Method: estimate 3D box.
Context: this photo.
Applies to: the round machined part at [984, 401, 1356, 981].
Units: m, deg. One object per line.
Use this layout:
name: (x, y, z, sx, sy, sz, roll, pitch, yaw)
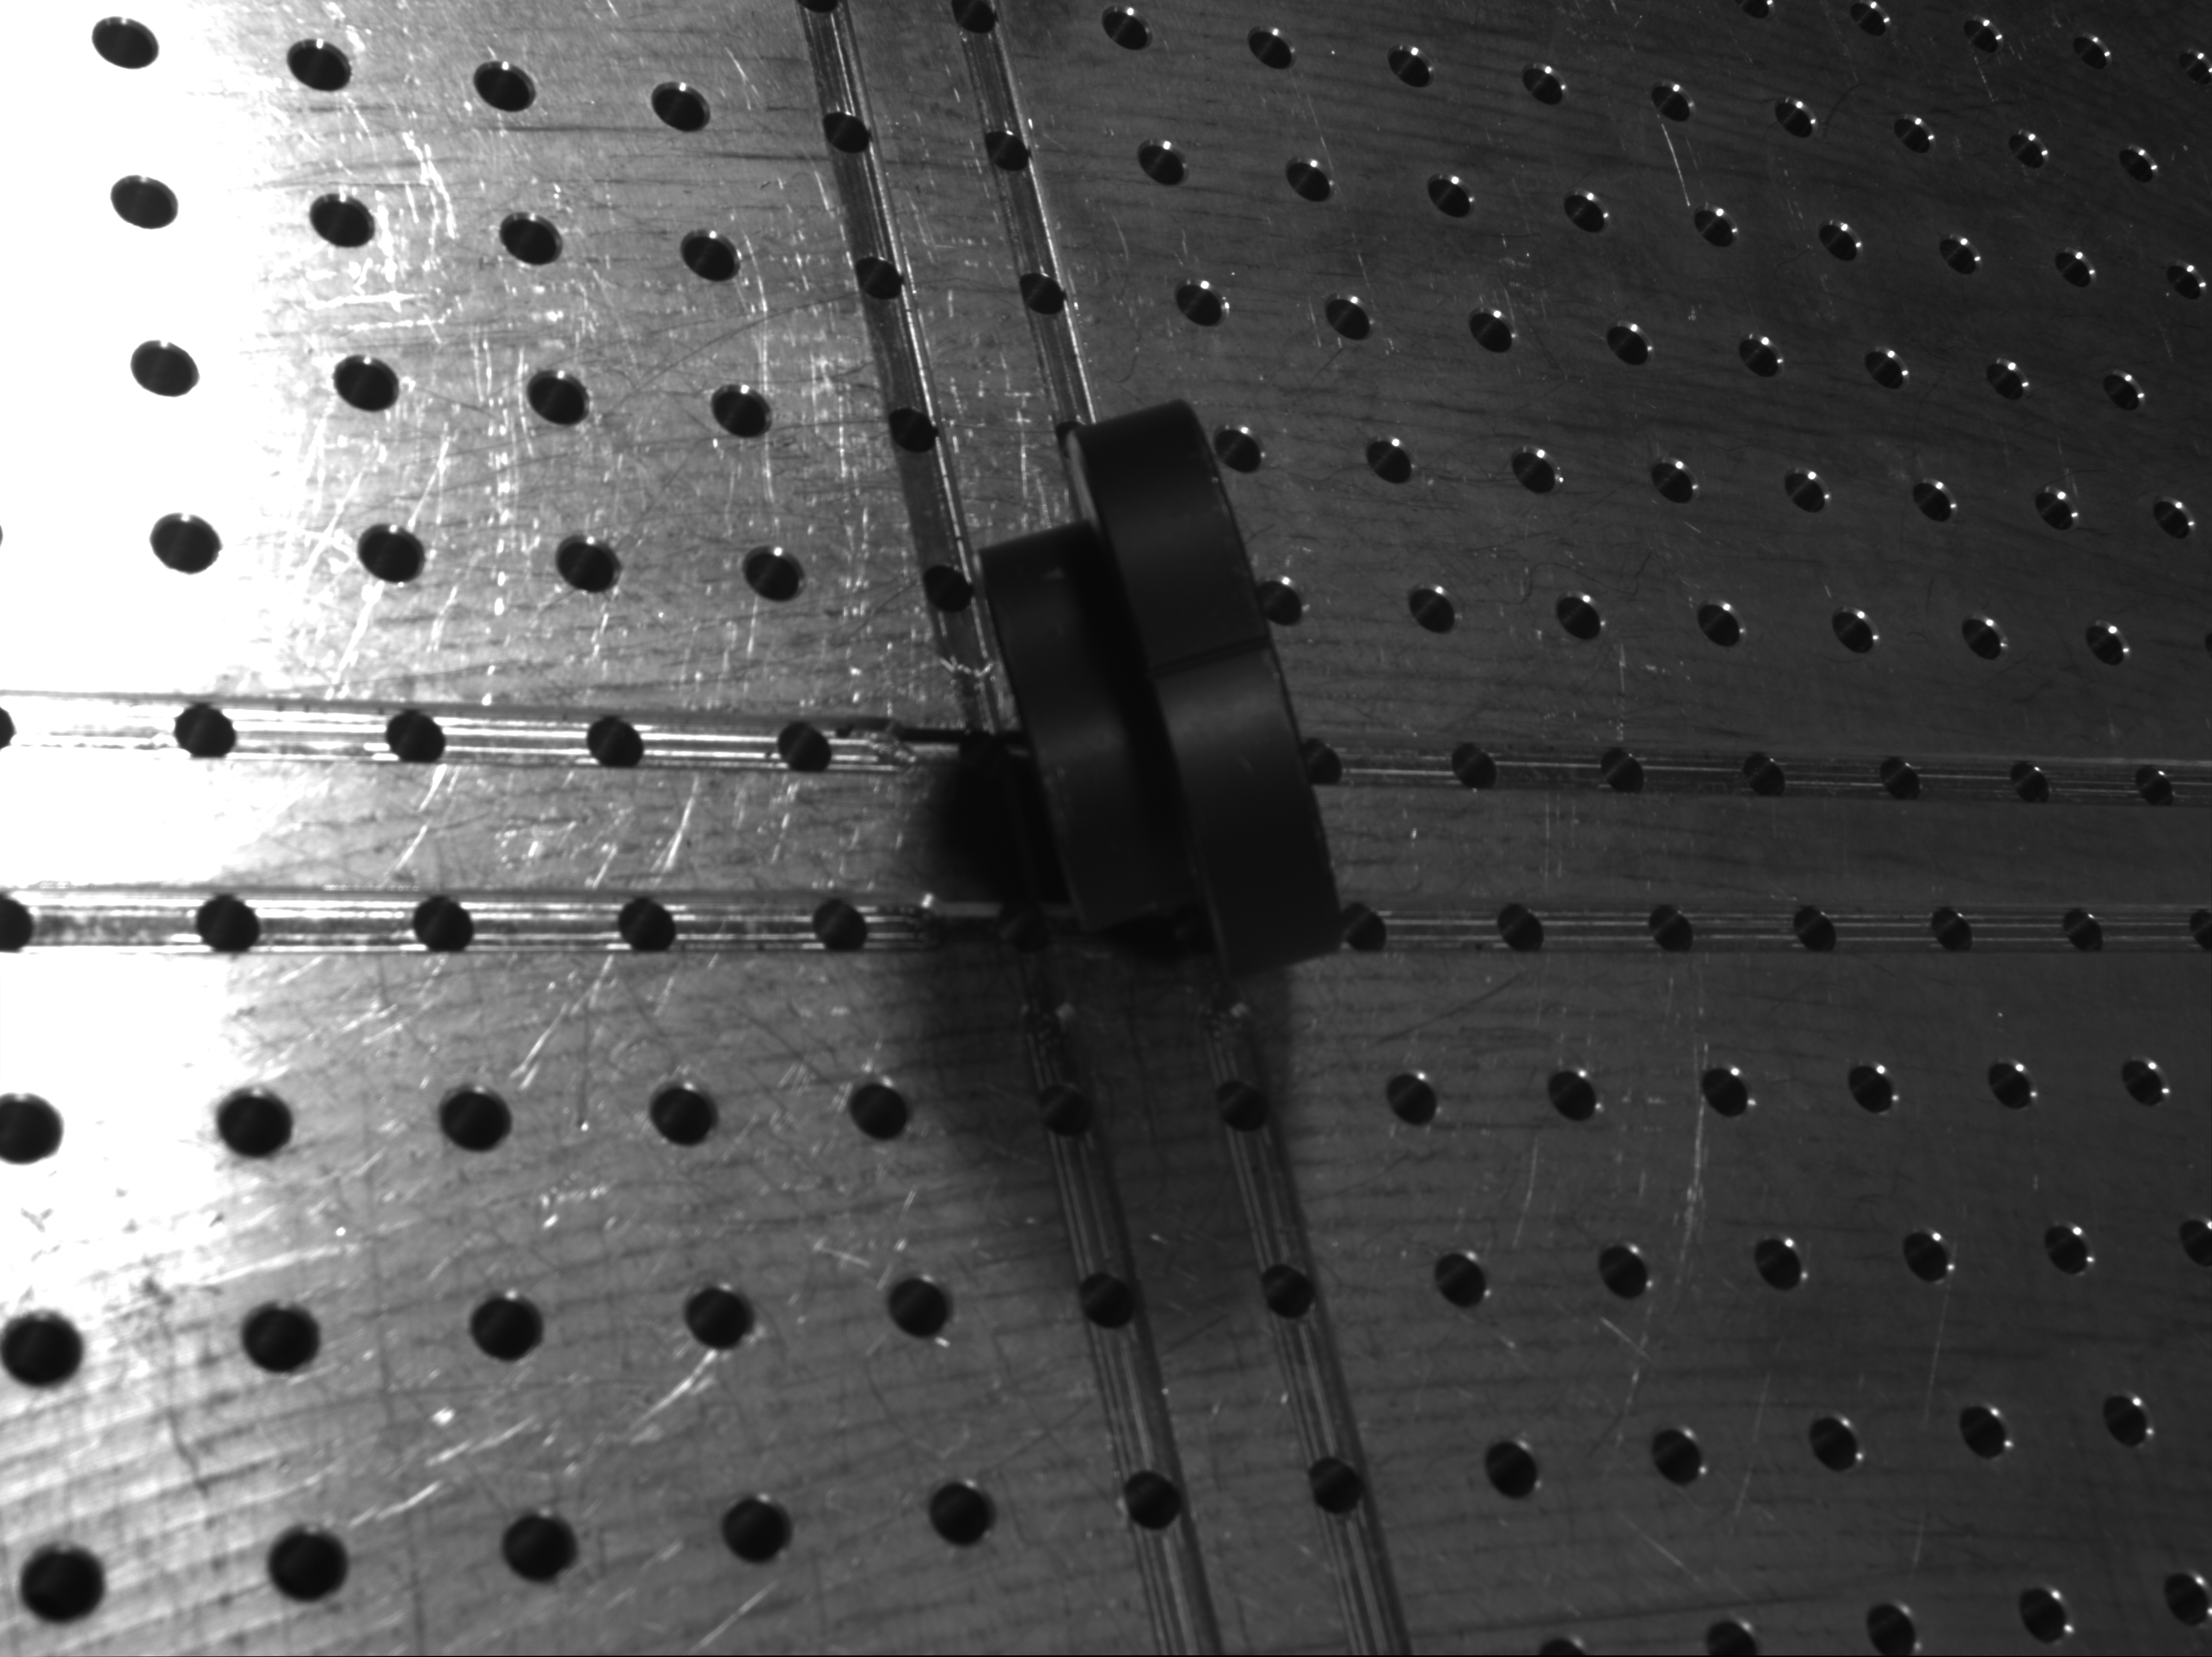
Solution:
round machined part: (0.009, -0.020, 0.624, 0.042, 0.098, 0.098, -16, 66, 0)
